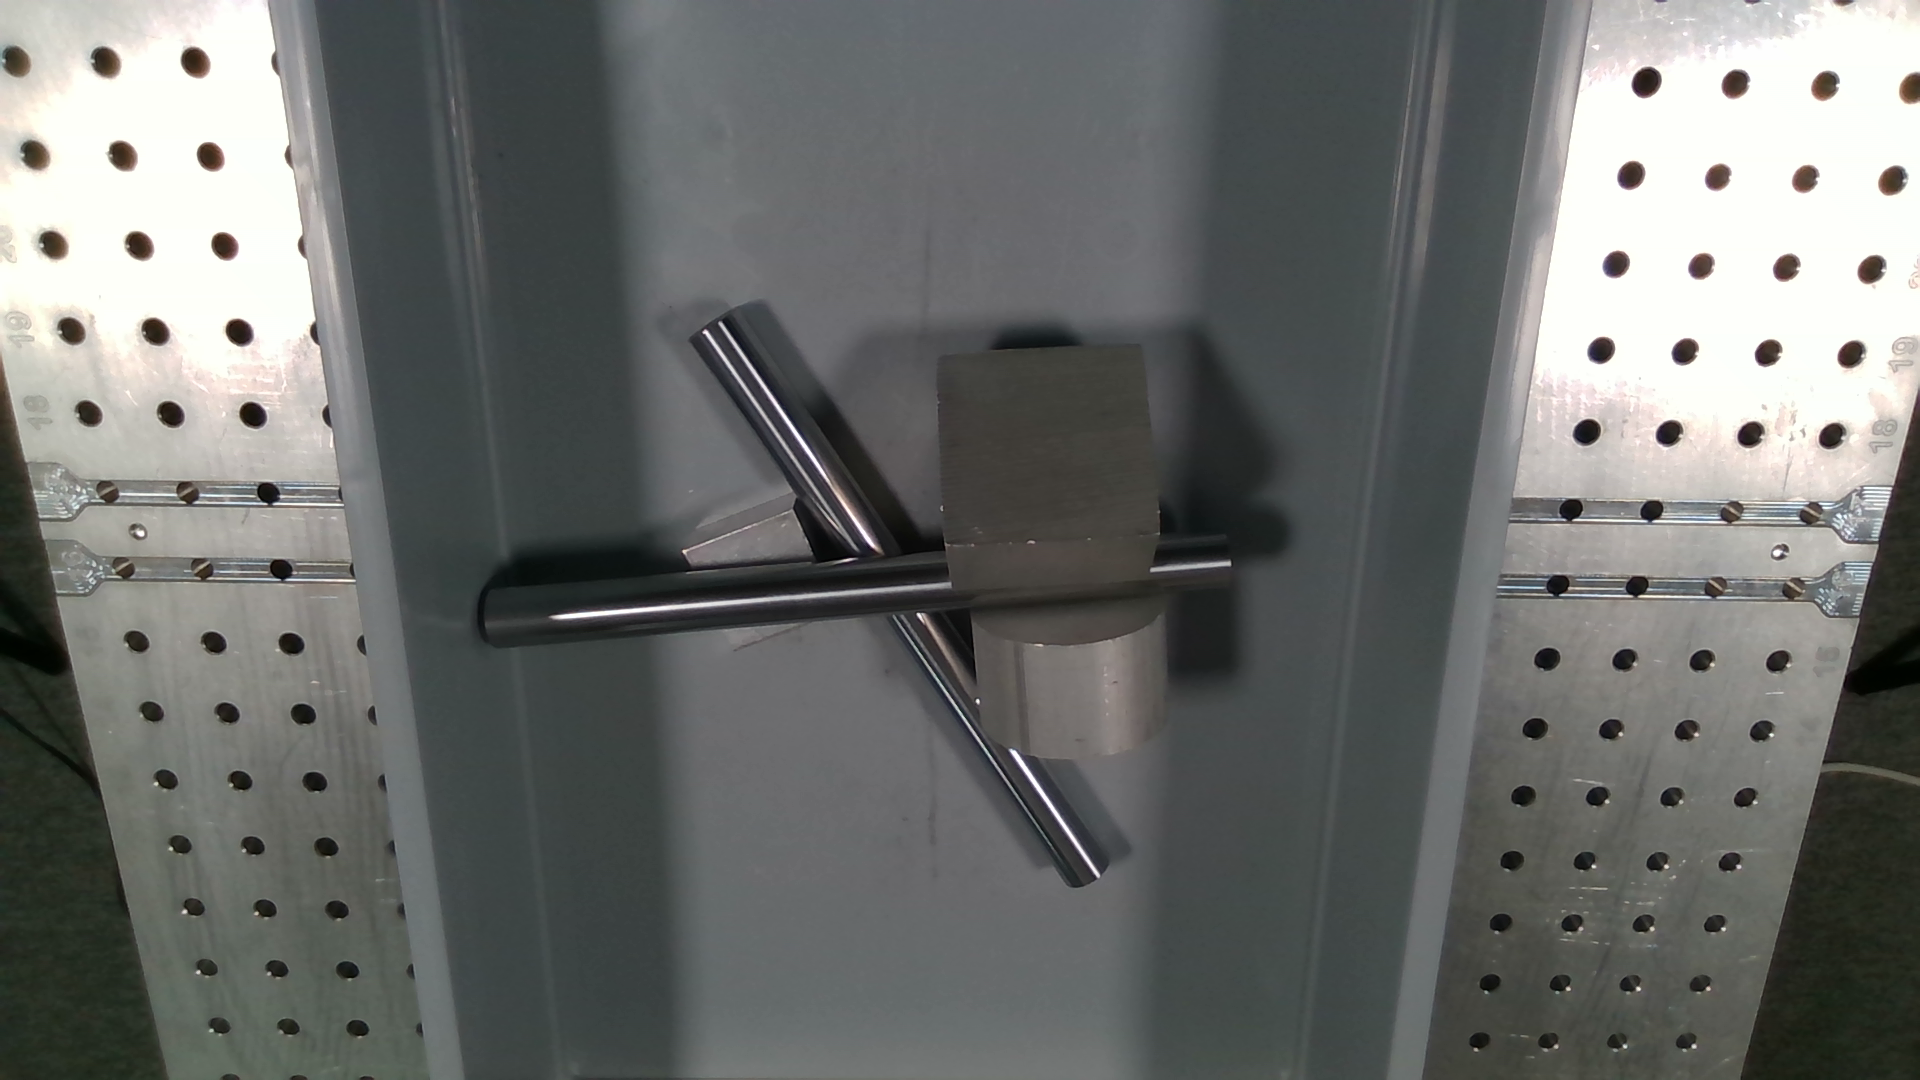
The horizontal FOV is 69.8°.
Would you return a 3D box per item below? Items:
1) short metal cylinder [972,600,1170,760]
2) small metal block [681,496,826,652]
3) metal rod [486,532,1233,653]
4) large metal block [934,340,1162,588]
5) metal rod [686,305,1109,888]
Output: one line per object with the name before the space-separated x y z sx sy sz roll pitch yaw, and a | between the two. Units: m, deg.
short metal cylinder | 0.046 0.049 0.572 0.080 0.080 0.050 -4 111 2
small metal block | -0.084 0.013 0.588 0.050 0.025 0.050 -20 109 7
metal rod | -0.041 0.022 0.564 0.300 0.025 0.025 -5 110 1
large metal block | 0.033 -0.028 0.539 0.080 0.050 0.080 -3 70 1
metal rod | -0.020 0.033 0.595 0.025 0.025 0.301 -30 107 10
